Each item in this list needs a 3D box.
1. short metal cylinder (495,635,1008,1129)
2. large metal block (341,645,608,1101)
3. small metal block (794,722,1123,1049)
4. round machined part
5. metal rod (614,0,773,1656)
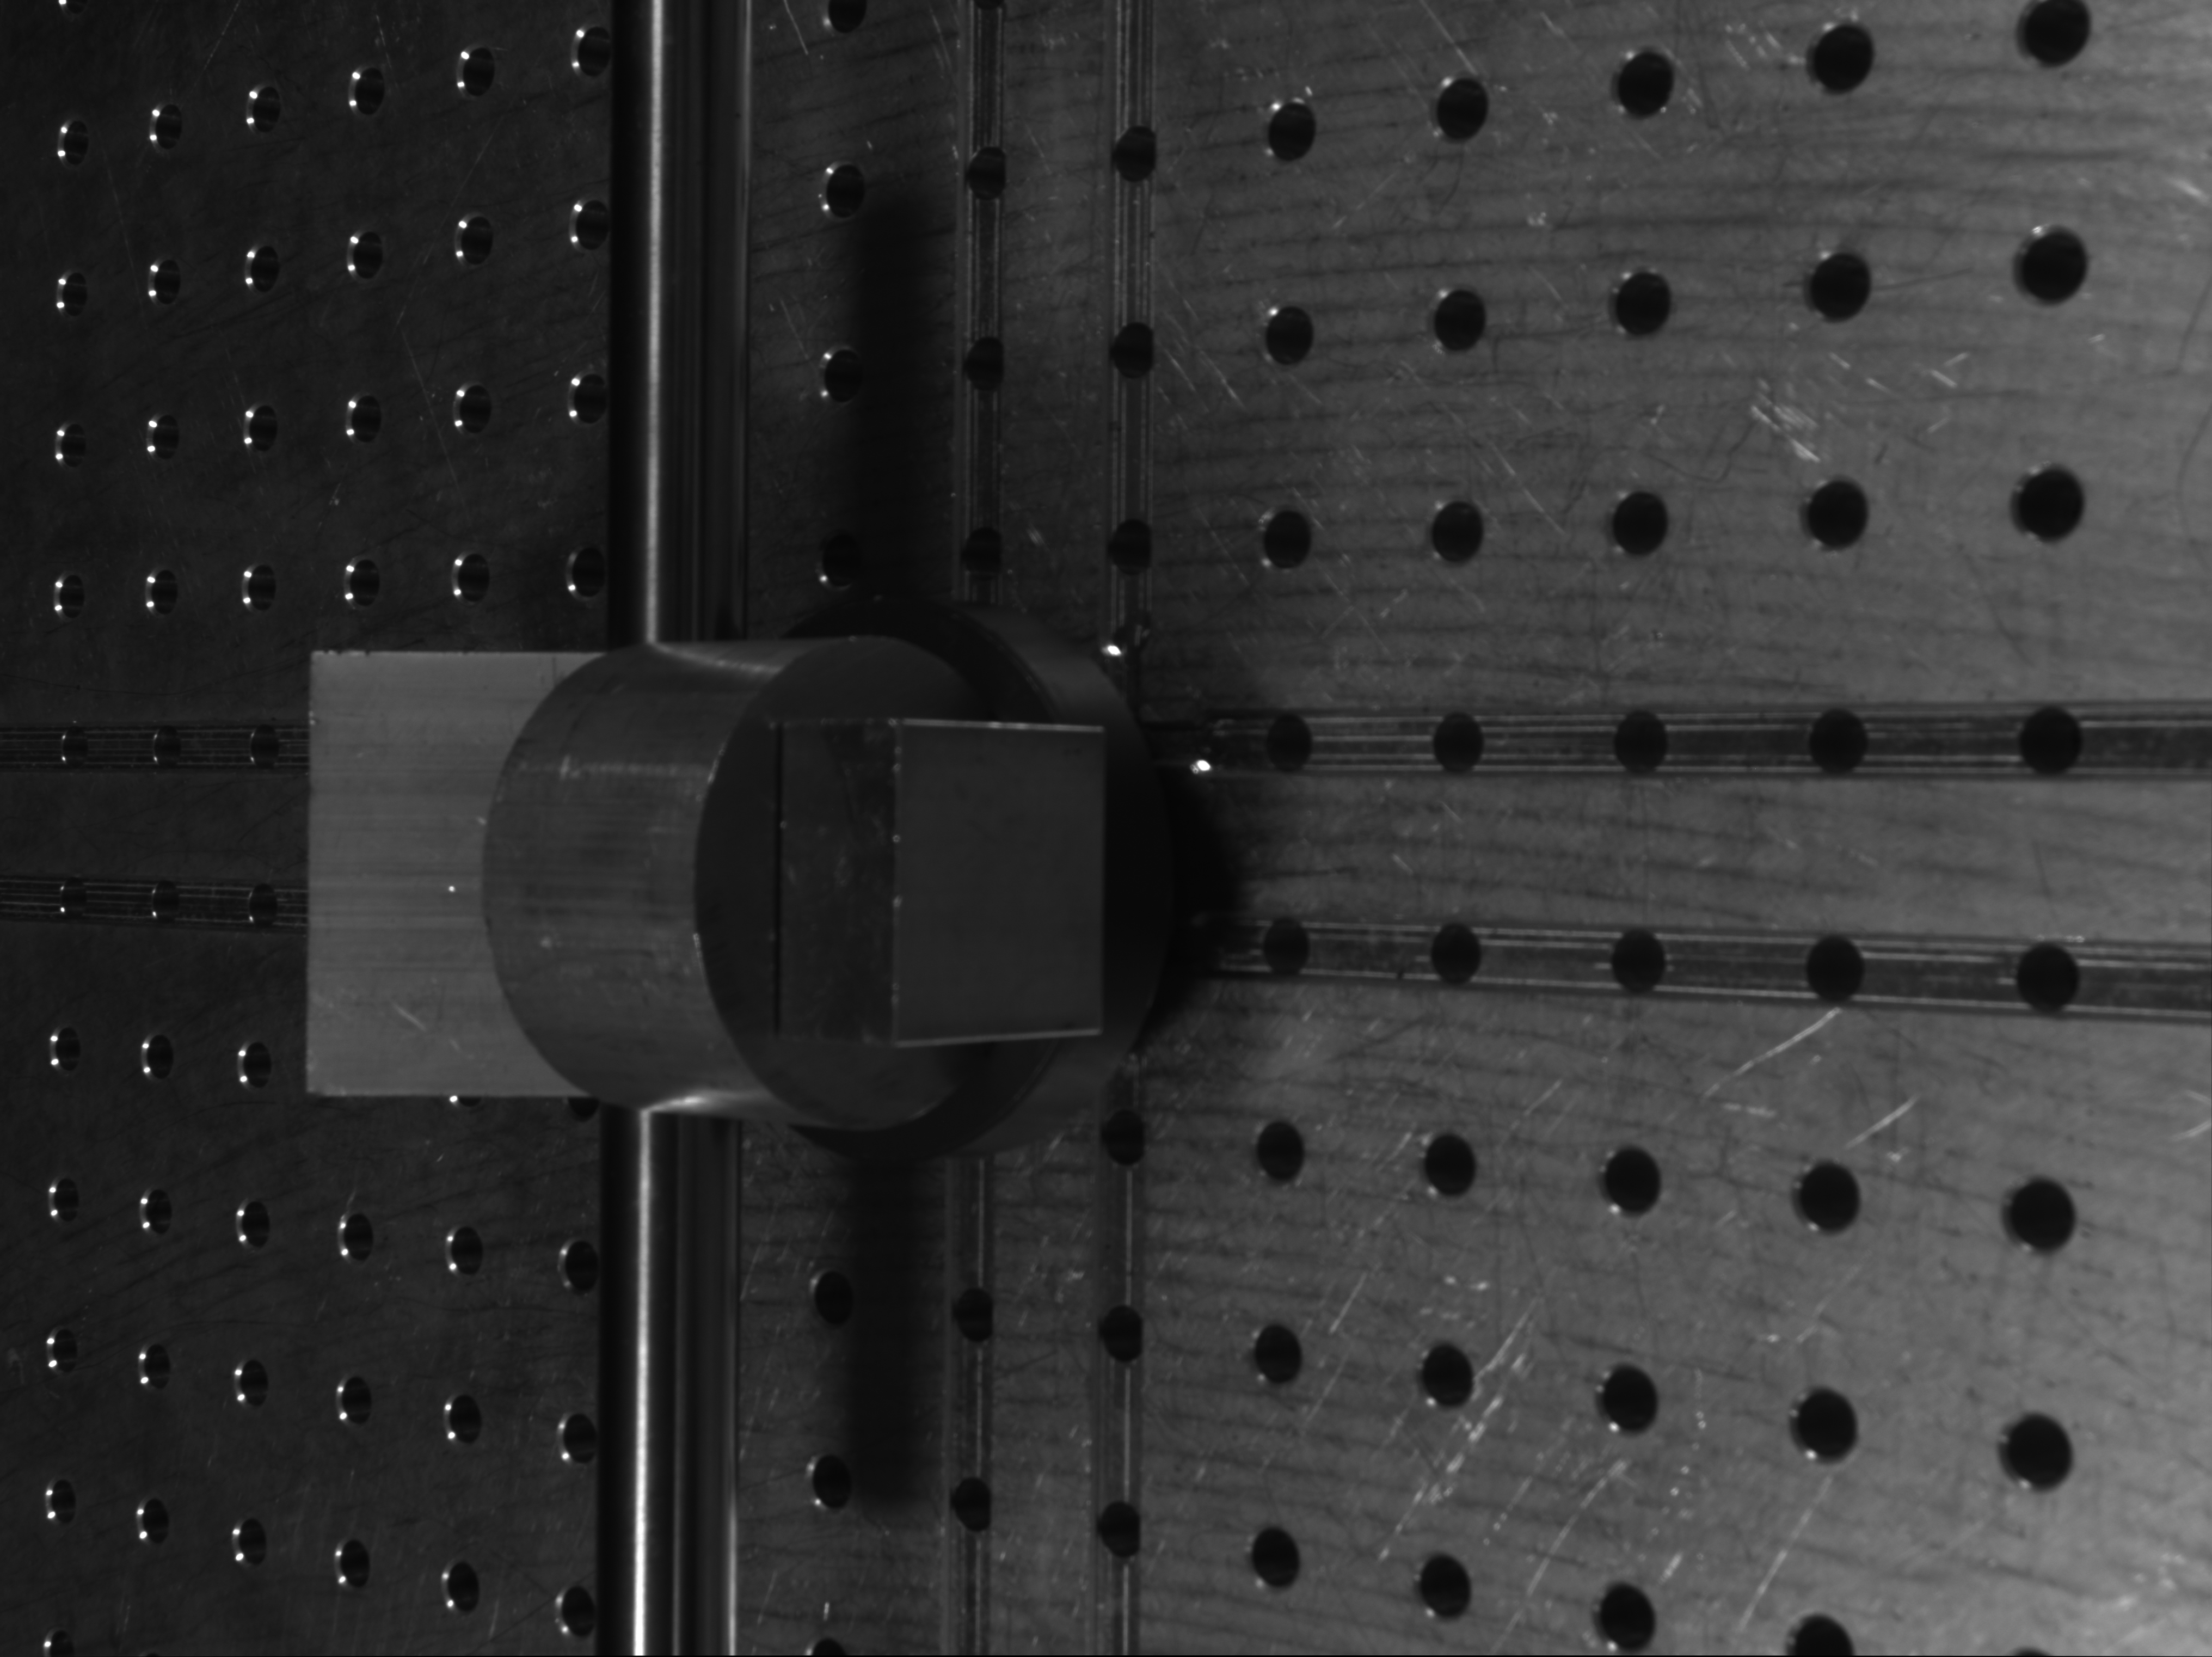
[{"bbox_3d":[-0.054,0.008,0.609,0.050,0.080,0.080,1,90,39],"label":"short metal cylinder"},{"bbox_3d":[-0.111,0.008,0.687,0.050,0.080,0.080,1,90,-2],"label":"large metal block"},{"bbox_3d":[-0.023,0.008,0.588,0.025,0.050,0.050,1,91,39],"label":"small metal block"},{"bbox_3d":[-0.024,0.009,0.646,0.098,0.042,0.098,0,90,39],"label":"round machined part"},{"bbox_3d":[-0.073,0.001,0.645,0.025,0.025,0.300,1,90,39],"label":"metal rod"}]
